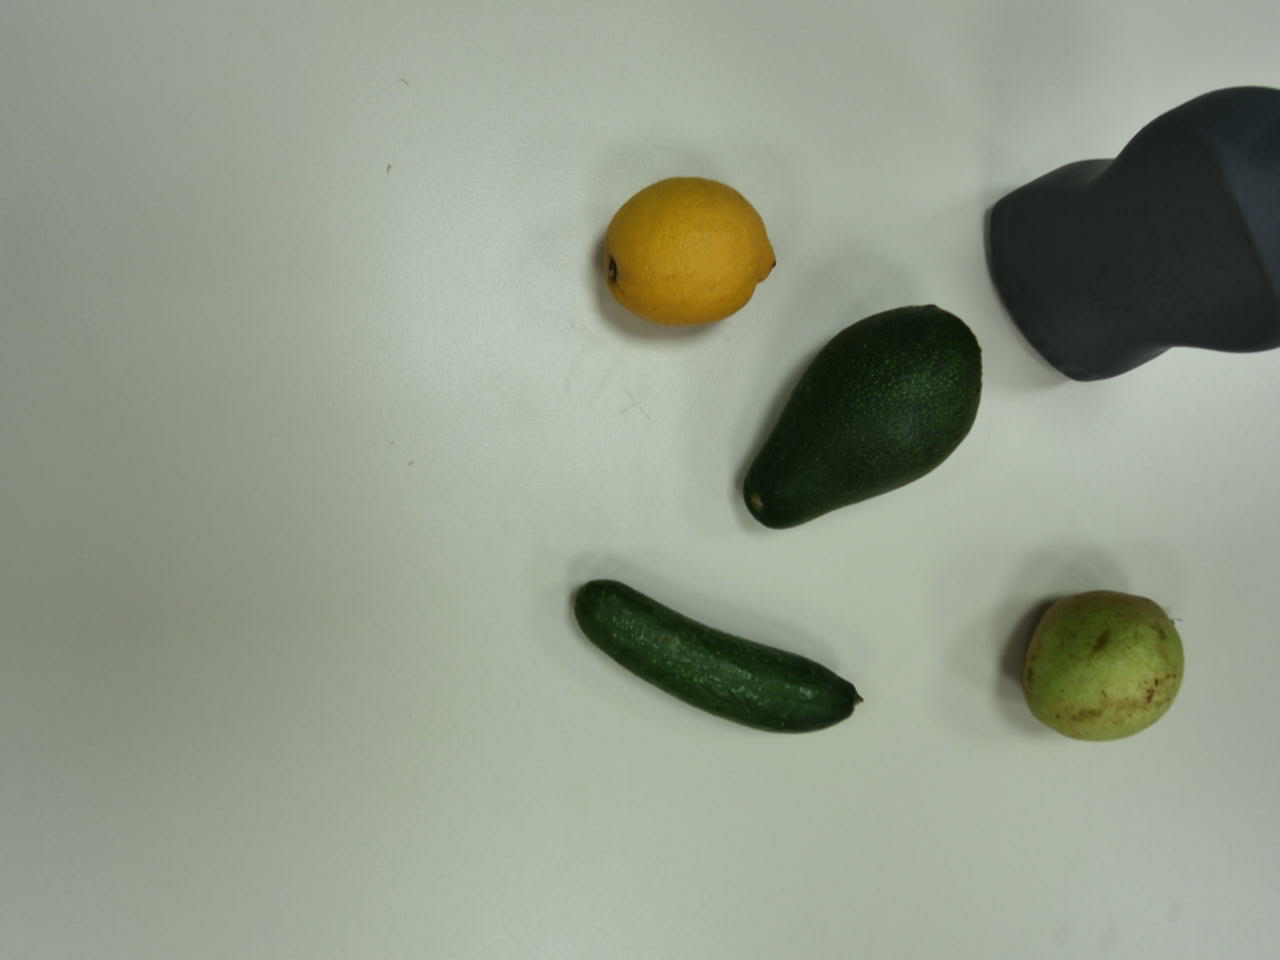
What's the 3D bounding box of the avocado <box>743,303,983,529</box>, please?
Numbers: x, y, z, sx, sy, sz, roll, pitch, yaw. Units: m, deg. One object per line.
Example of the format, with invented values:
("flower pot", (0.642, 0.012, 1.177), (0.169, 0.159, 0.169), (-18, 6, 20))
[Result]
("avocado", (0.092, -0.028, 0.422), (0.109, 0.071, 0.072), (-23, 95, -10))
